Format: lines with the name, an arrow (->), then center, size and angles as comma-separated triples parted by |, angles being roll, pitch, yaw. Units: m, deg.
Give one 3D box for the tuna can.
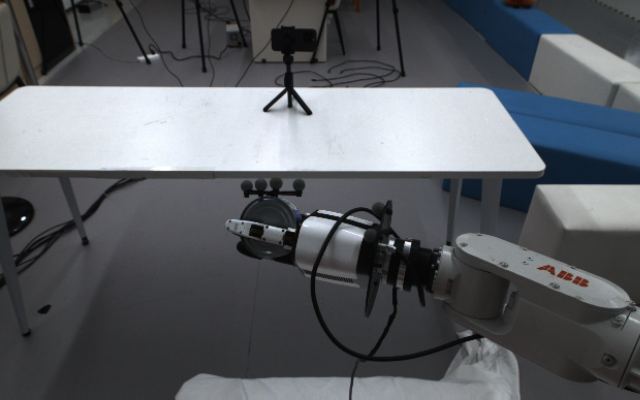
tuna can -> -0.067, 0.038, 0.677 | 0.085, 0.085, 0.034 | 15, 1, 18
